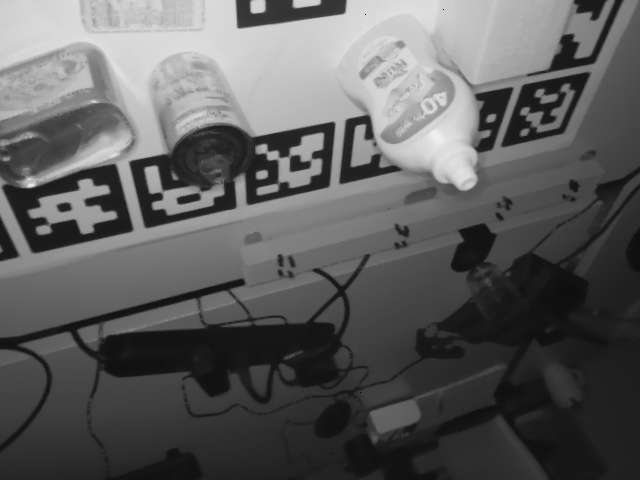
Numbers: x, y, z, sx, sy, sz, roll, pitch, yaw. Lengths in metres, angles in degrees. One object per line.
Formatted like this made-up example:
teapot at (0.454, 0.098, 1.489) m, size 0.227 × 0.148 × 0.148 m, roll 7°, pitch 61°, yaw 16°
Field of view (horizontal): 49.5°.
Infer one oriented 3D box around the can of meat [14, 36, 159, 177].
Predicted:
can of meat at (-0.187, -0.108, 0.552) m, size 0.102 × 0.084 × 0.057 m, roll -20°, pitch 142°, yaw -3°

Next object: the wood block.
wood block at (0.187, -0.248, 0.593) m, size 0.092 × 0.090 × 0.204 m, roll -11°, pitch 145°, yaw -15°

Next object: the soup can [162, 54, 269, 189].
soup can at (-0.090, -0.102, 0.585) m, size 0.068 × 0.102 × 0.067 m, roll -16°, pitch 141°, yaw -13°

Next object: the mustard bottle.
mustard bottle at (0.104, -0.126, 0.617) m, size 0.096 × 0.192 × 0.058 m, roll -27°, pitch 144°, yaw 6°

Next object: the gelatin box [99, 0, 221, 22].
gelatin box at (-0.117, -0.202, 0.516) m, size 0.090 × 0.030 × 0.072 m, roll -8°, pitch 138°, yaw -26°
